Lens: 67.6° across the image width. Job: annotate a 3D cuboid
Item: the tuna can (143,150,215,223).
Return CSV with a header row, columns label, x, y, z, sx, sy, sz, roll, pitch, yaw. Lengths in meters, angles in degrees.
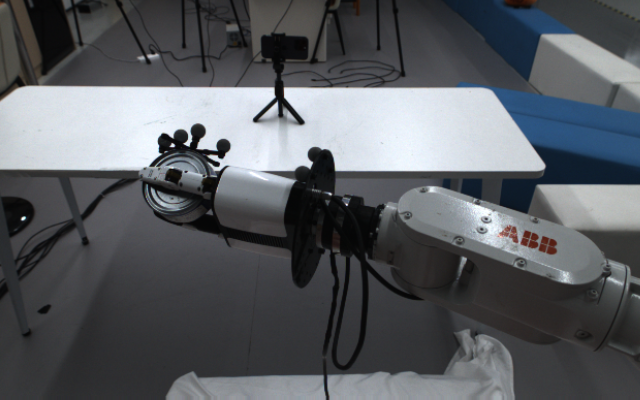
label,x,y,z,sx,sy,sz,roll,pitch,yaw
tuna can,-0.167,-0.017,0.587,0.085,0.034,0.085,-3,68,8
